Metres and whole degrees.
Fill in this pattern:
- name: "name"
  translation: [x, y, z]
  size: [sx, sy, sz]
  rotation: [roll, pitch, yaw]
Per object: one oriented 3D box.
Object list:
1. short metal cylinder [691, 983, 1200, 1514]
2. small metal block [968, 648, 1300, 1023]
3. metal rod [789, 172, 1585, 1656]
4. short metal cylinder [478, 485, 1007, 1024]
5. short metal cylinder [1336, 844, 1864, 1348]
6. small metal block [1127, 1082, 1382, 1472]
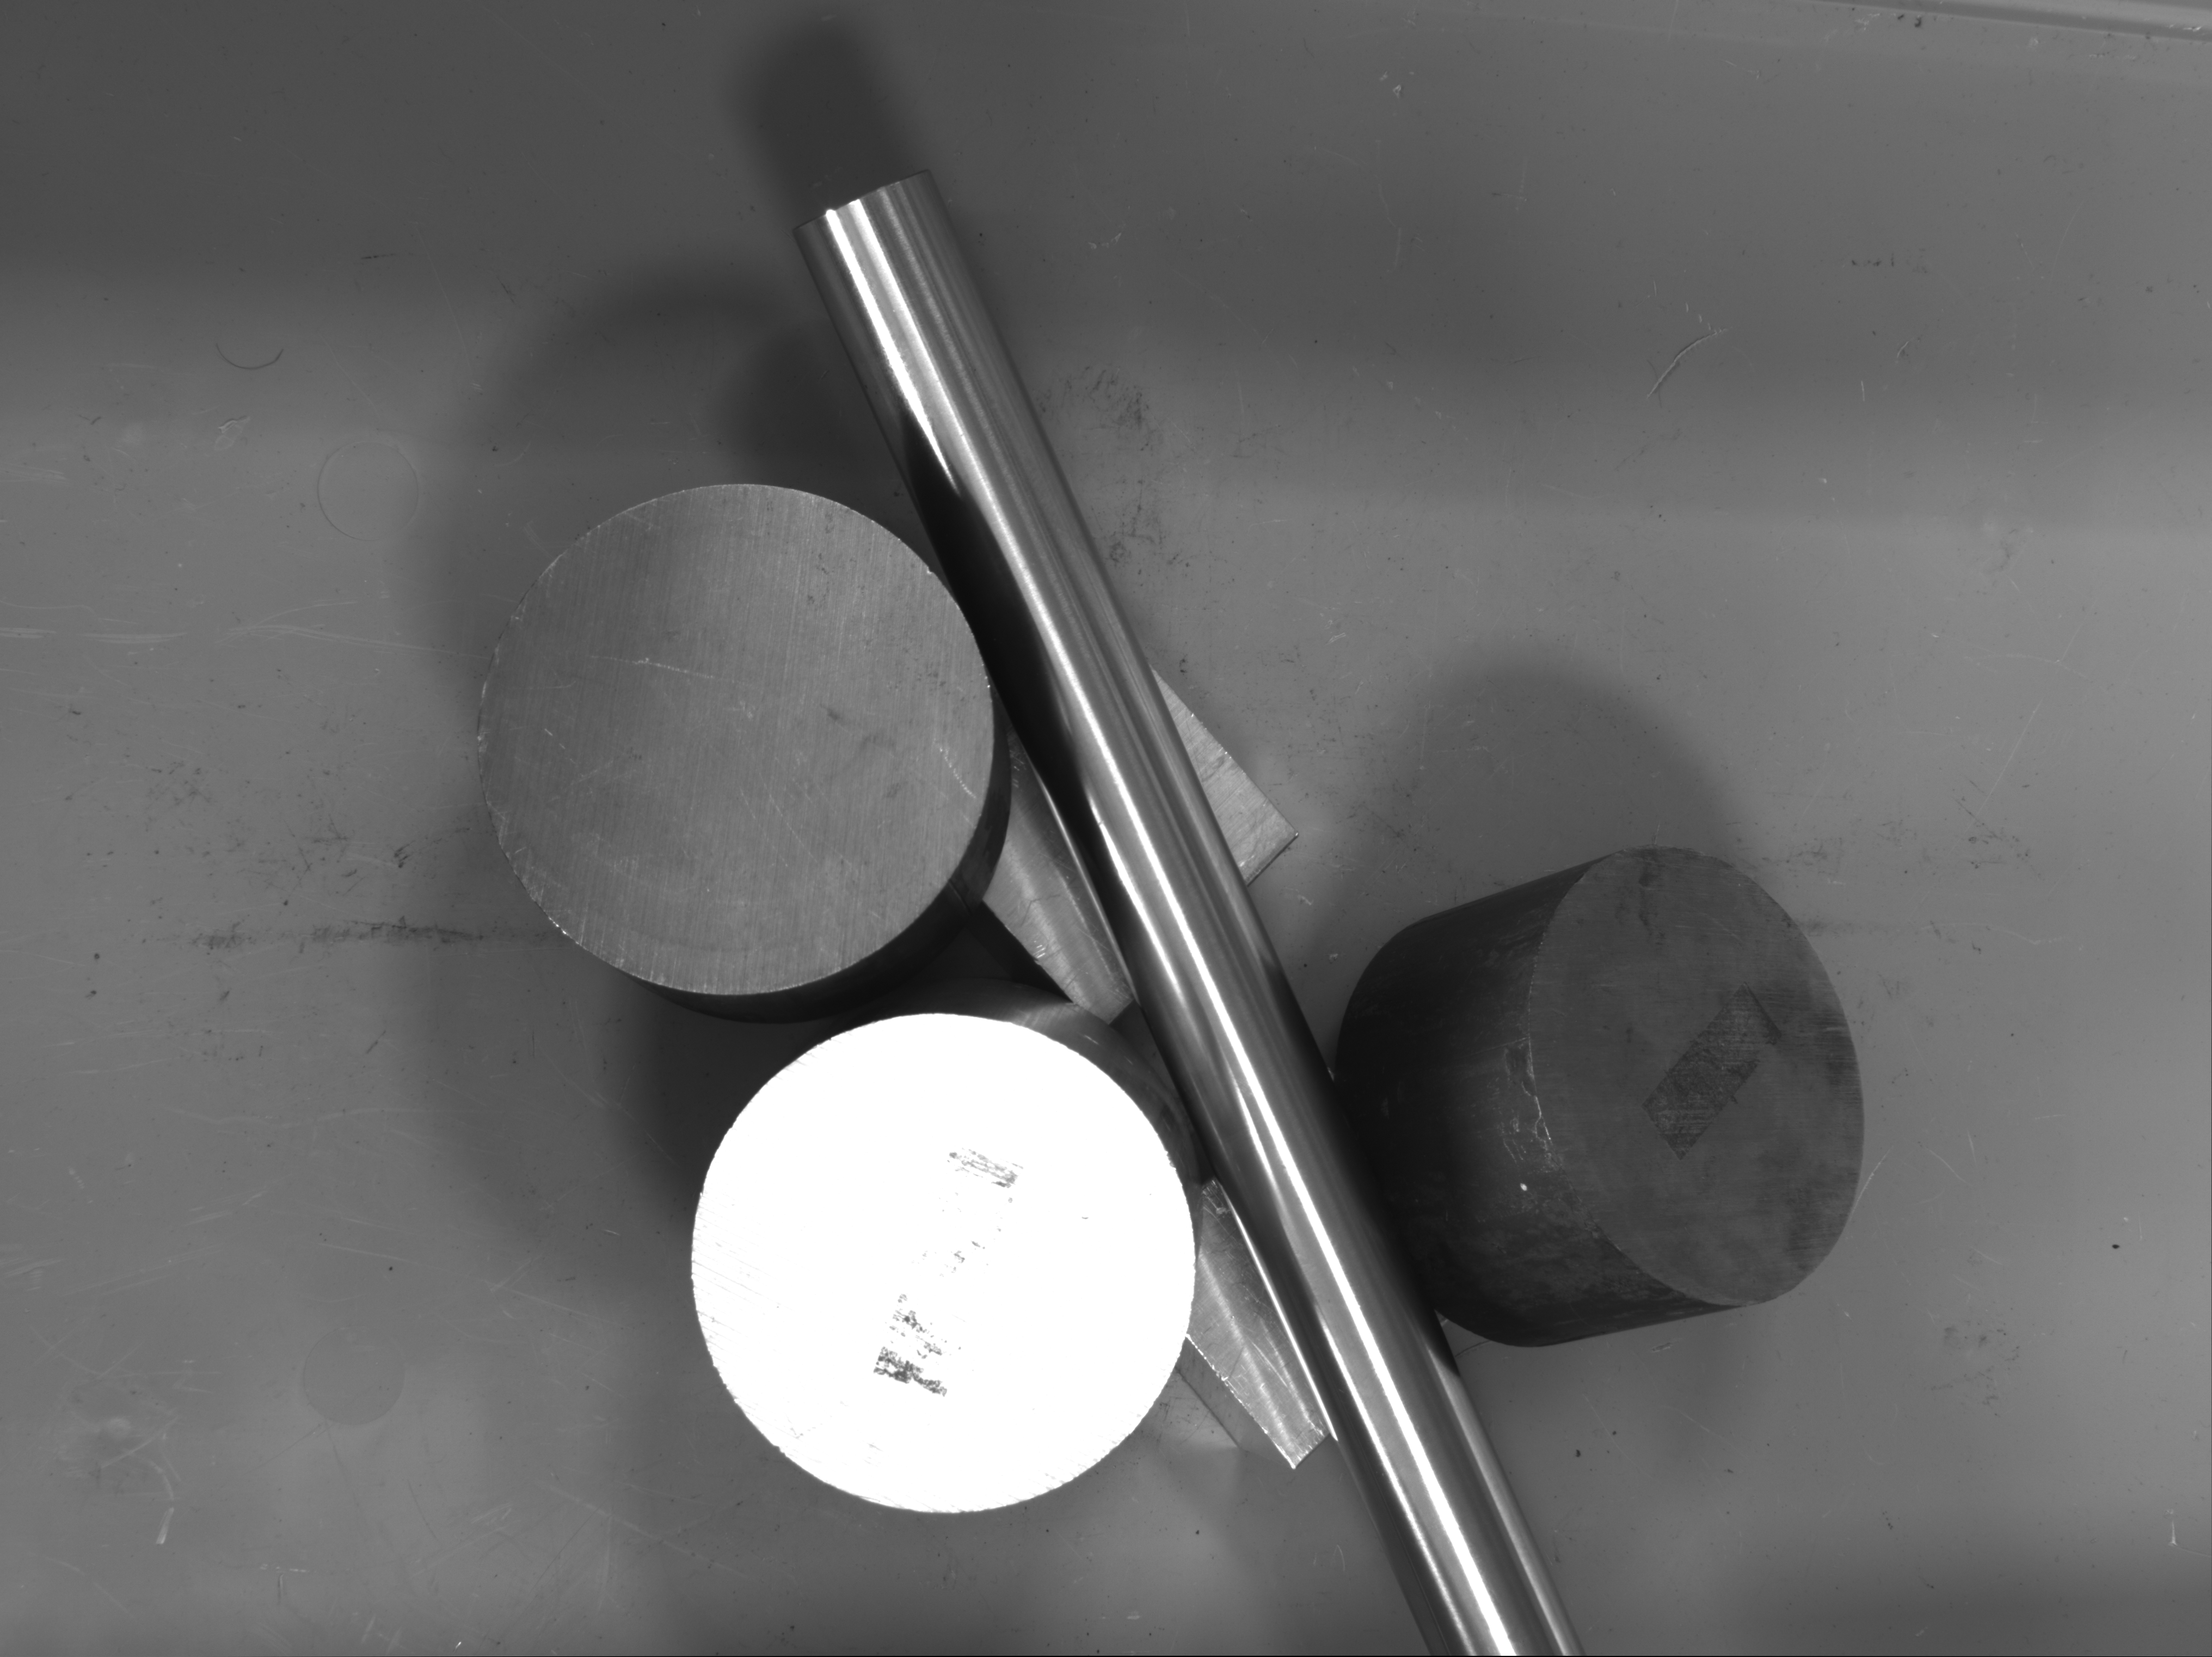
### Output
- name: "short metal cylinder"
  translation: [-0.024, 0.067, 0.606]
  size: [0.080, 0.050, 0.080]
  rotation: [0, 94, 3]
- name: "small metal block"
  translation: [-0.004, 0.000, 0.641]
  size: [0.050, 0.025, 0.050]
  rotation: [-45, 104, -14]
- name: "metal rod"
  translation: [0.020, 0.033, 0.622]
  size: [0.025, 0.025, 0.300]
  rotation: [-27, 98, -18]
- name: "short metal cylinder"
  translation: [-0.057, -0.011, 0.594]
  size: [0.080, 0.050, 0.080]
  rotation: [0, 82, 1]
- name: "short metal cylinder"
  translation: [0.087, 0.048, 0.647]
  size: [0.080, 0.050, 0.080]
  rotation: [13, 67, -35]
- name: "small metal block"
  translation: [0.032, 0.077, 0.654]
  size: [0.050, 0.025, 0.050]
  rotation: [-42, 103, -15]
